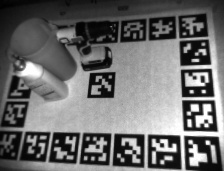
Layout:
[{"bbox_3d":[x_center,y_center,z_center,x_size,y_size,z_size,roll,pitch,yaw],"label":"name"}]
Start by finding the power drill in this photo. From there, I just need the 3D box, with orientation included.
[{"bbox_3d":[-0.082,-0.151,0.729,0.184,0.188,0.057,-5,74,6],"label":"power drill"}]

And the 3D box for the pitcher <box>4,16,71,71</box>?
[{"bbox_3d":[-0.248,-0.133,0.751,0.188,0.245,0.132,-27,69,5],"label":"pitcher"}]

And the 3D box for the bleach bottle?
[{"bbox_3d":[-0.269,-0.042,0.705,0.102,0.253,0.067,-9,70,12],"label":"bleach bottle"}]
